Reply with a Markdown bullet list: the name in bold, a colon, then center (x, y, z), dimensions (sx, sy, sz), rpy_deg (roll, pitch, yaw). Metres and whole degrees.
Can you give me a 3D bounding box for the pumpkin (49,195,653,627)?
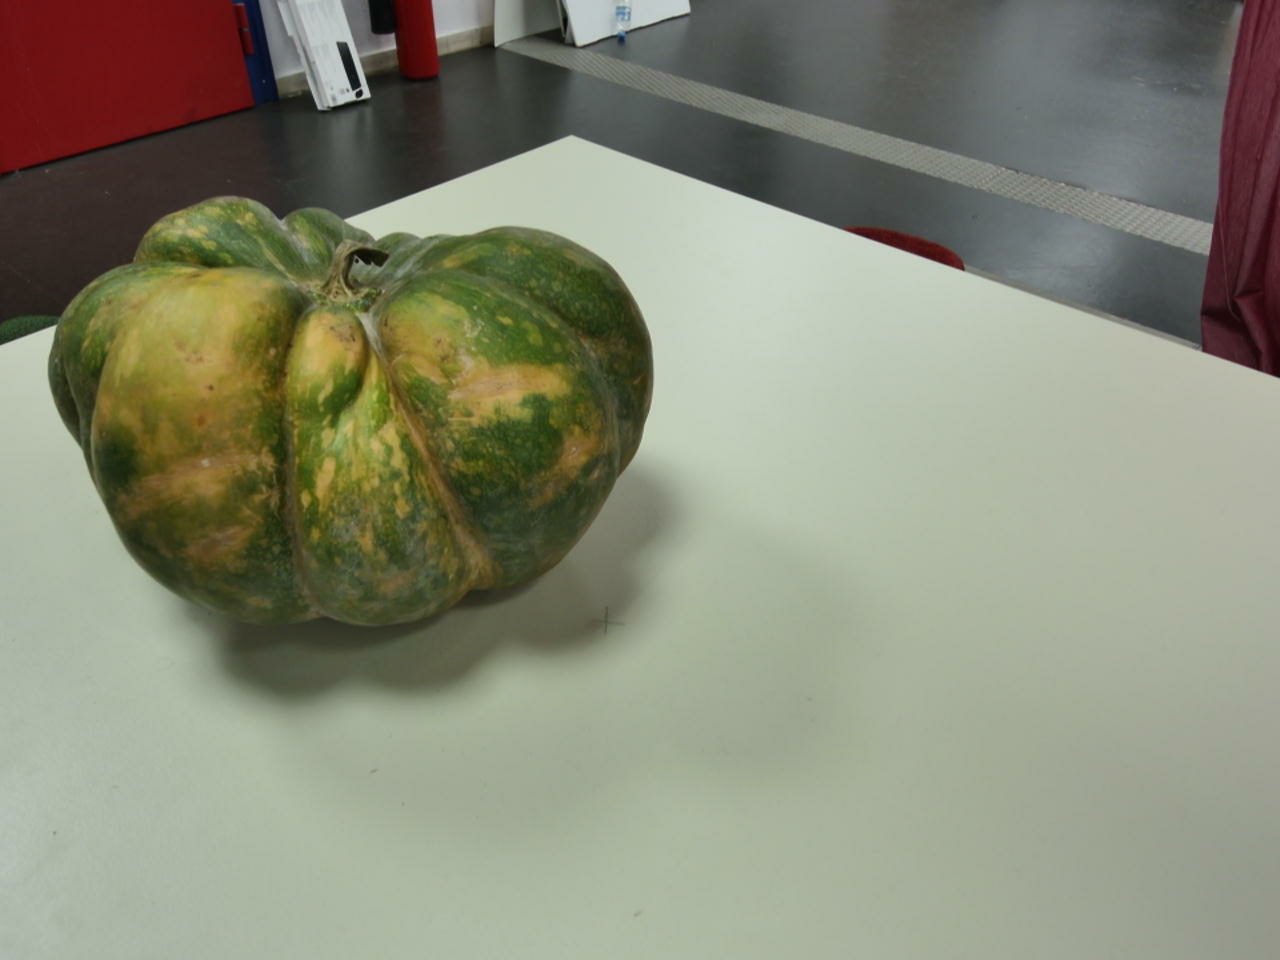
- **pumpkin**: center (-0.130, -0.041, 0.463), dimensions (0.270, 0.173, 0.237), rpy_deg (-7, 38, -10)
